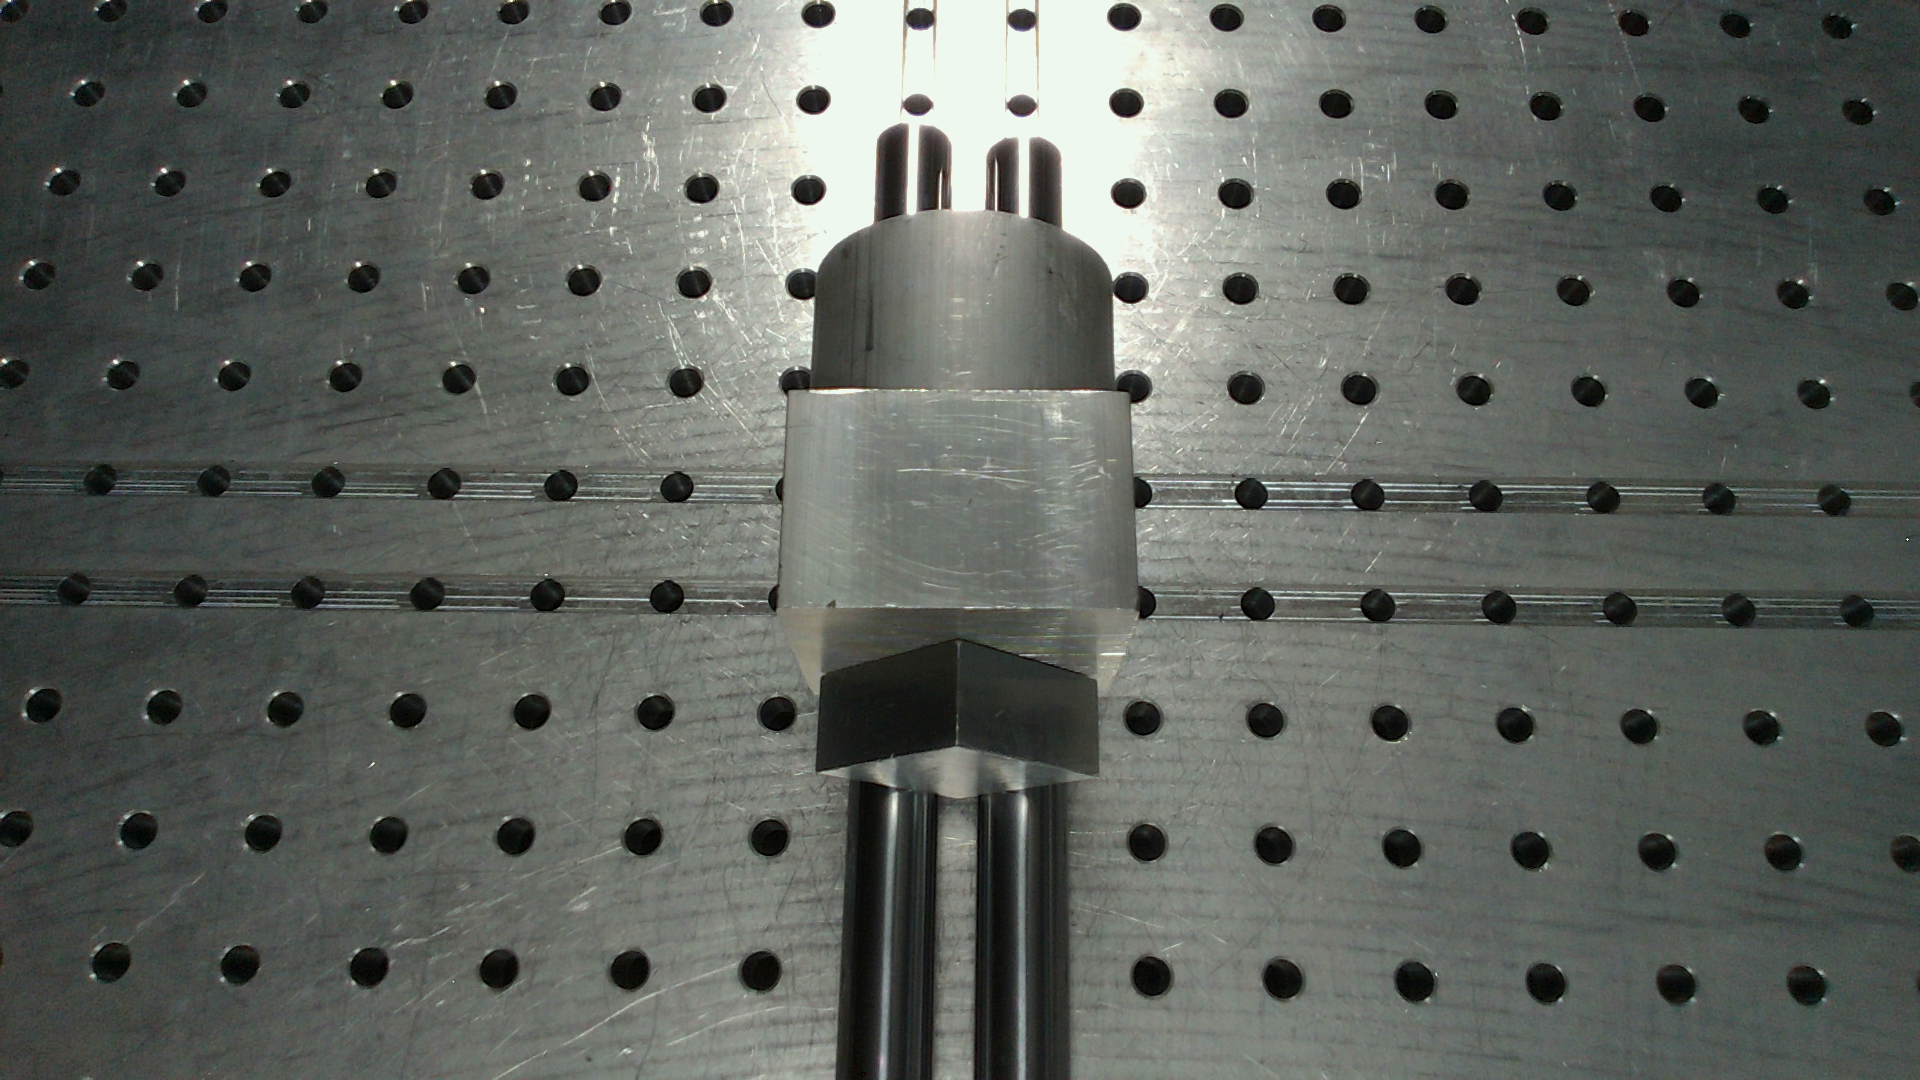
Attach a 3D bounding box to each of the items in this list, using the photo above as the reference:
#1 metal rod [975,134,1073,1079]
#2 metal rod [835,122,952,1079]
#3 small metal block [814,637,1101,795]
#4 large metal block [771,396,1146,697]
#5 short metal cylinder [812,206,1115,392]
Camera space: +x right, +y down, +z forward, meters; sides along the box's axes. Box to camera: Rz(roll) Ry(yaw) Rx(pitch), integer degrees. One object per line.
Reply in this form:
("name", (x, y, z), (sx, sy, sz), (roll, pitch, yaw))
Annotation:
("metal rod", (0.018, 0.018, 0.392), (0.025, 0.025, 0.300), (1, 70, 0))
("metal rod", (-0.017, 0.014, 0.393), (0.025, 0.025, 0.300), (1, 70, 0))
("small metal block", (-0.001, 0.046, 0.343), (0.050, 0.050, 0.025), (19, 63, -41))
("large metal block", (0.000, 0.005, 0.340), (0.080, 0.080, 0.050), (0, 70, 0))
("short metal cylinder", (0.001, -0.044, 0.361), (0.080, 0.080, 0.050), (1, 70, 0))
